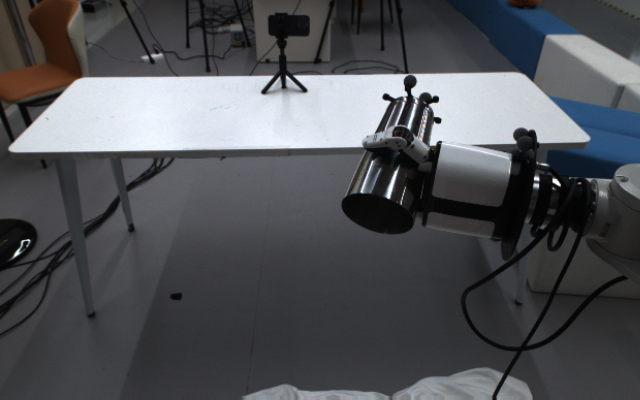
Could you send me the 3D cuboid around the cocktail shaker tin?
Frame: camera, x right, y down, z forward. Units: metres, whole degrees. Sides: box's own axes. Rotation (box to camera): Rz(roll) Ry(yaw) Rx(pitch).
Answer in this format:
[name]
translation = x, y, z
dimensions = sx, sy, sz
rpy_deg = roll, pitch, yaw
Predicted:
[cocktail shaker tin]
translation = 0.096, -0.051, 0.628
dimensions = 0.093, 0.093, 0.170
rpy_deg = 14, 61, 17
